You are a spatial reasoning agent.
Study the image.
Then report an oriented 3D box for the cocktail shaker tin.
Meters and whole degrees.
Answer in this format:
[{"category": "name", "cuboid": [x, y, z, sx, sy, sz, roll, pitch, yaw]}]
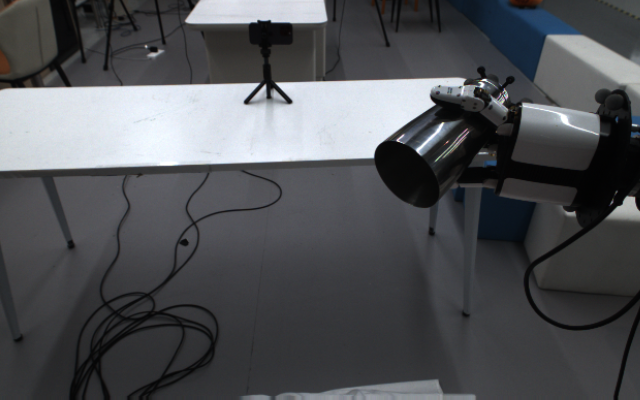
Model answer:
[{"category": "cocktail shaker tin", "cuboid": [0.156, -0.082, 0.582, 0.170, 0.093, 0.093, -38, 50, -24]}]
